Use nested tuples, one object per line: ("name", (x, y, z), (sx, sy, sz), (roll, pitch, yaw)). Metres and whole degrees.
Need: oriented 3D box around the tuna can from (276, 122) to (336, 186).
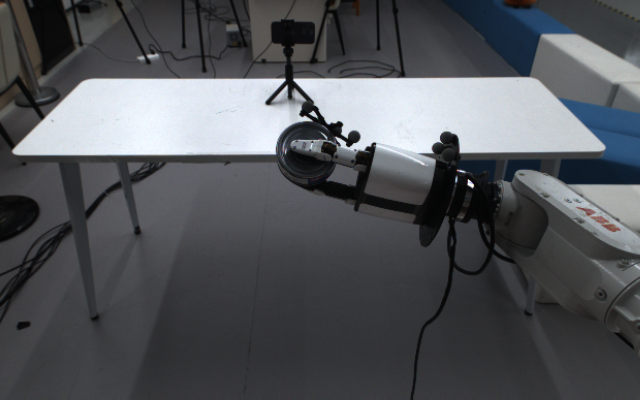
("tuna can", (-0.016, -0.066, 0.671), (0.085, 0.034, 0.085), (0, 74, 0))
